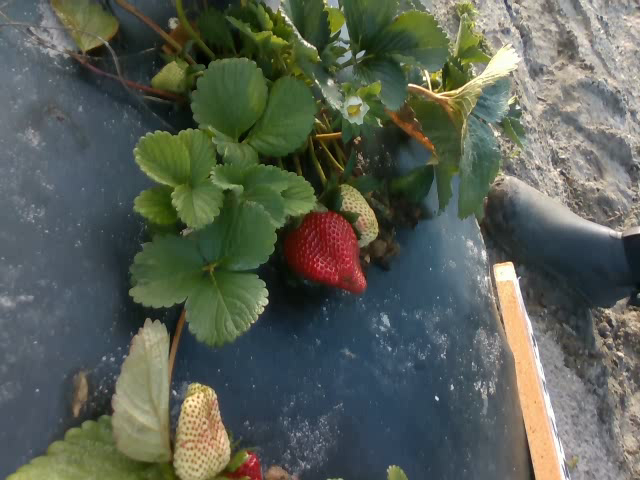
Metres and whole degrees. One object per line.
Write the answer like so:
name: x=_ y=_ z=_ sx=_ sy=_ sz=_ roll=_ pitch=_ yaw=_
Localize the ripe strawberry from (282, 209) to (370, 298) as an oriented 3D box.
ripe strawberry: x=0.007 y=0.013 z=0.390 sx=0.057 sy=0.058 sz=0.071 roll=-27 pitch=31 yaw=-3
